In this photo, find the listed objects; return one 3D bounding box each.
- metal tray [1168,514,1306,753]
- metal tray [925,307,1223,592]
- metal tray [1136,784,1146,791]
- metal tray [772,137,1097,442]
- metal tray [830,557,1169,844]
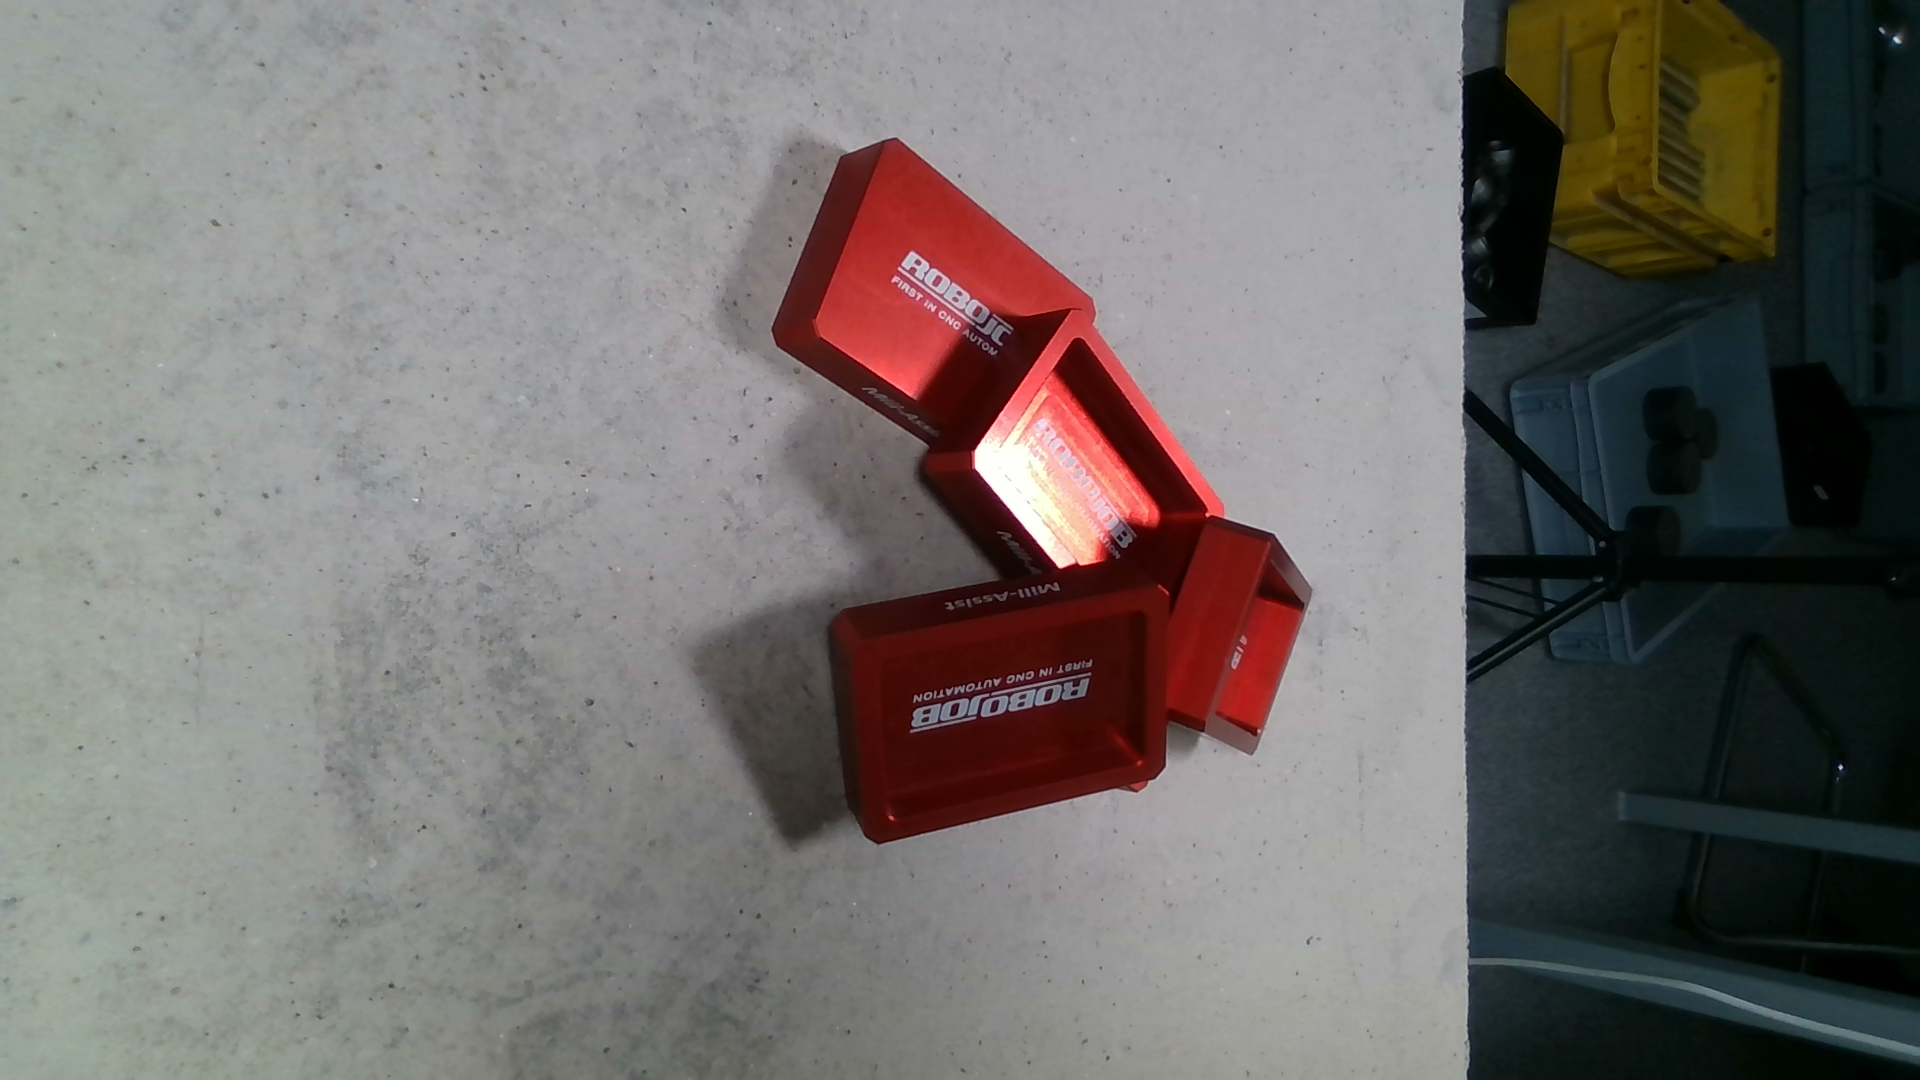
[{"bbox_3d":[0.126,0.048,0.642,0.130,0.030,0.090,31,79,-65],"label":"metal tray"},{"bbox_3d":[0.052,-0.022,0.585,0.130,0.030,0.090,49,61,-29],"label":"metal tray"},{"bbox_3d":[0.067,0.039,0.637,0.090,0.030,0.130,34,69,-35],"label":"metal tray"},{"bbox_3d":[-0.006,-0.092,0.574,0.130,0.030,0.090,31,71,-36],"label":"metal tray"},{"bbox_3d":[0.018,0.063,0.550,0.130,0.030,0.090,-10,114,-16],"label":"metal tray"}]
